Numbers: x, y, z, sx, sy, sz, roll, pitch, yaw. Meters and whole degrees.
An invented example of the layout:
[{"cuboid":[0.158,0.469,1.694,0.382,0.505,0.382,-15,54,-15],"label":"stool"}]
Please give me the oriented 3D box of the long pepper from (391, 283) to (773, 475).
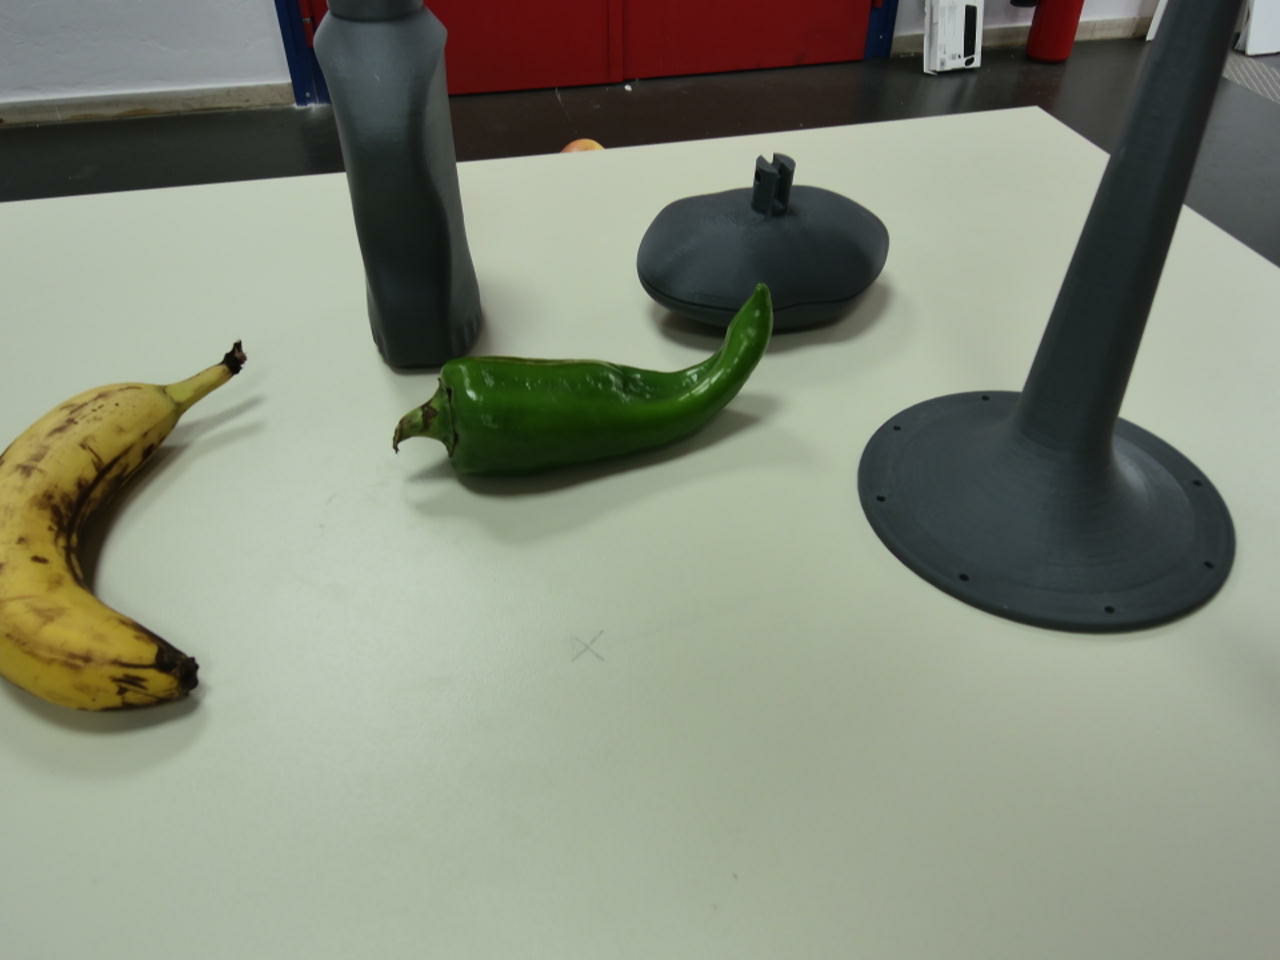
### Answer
[{"cuboid":[-0.022,-0.042,0.439,0.175,0.065,0.058,-10,39,-12],"label":"long pepper"}]
